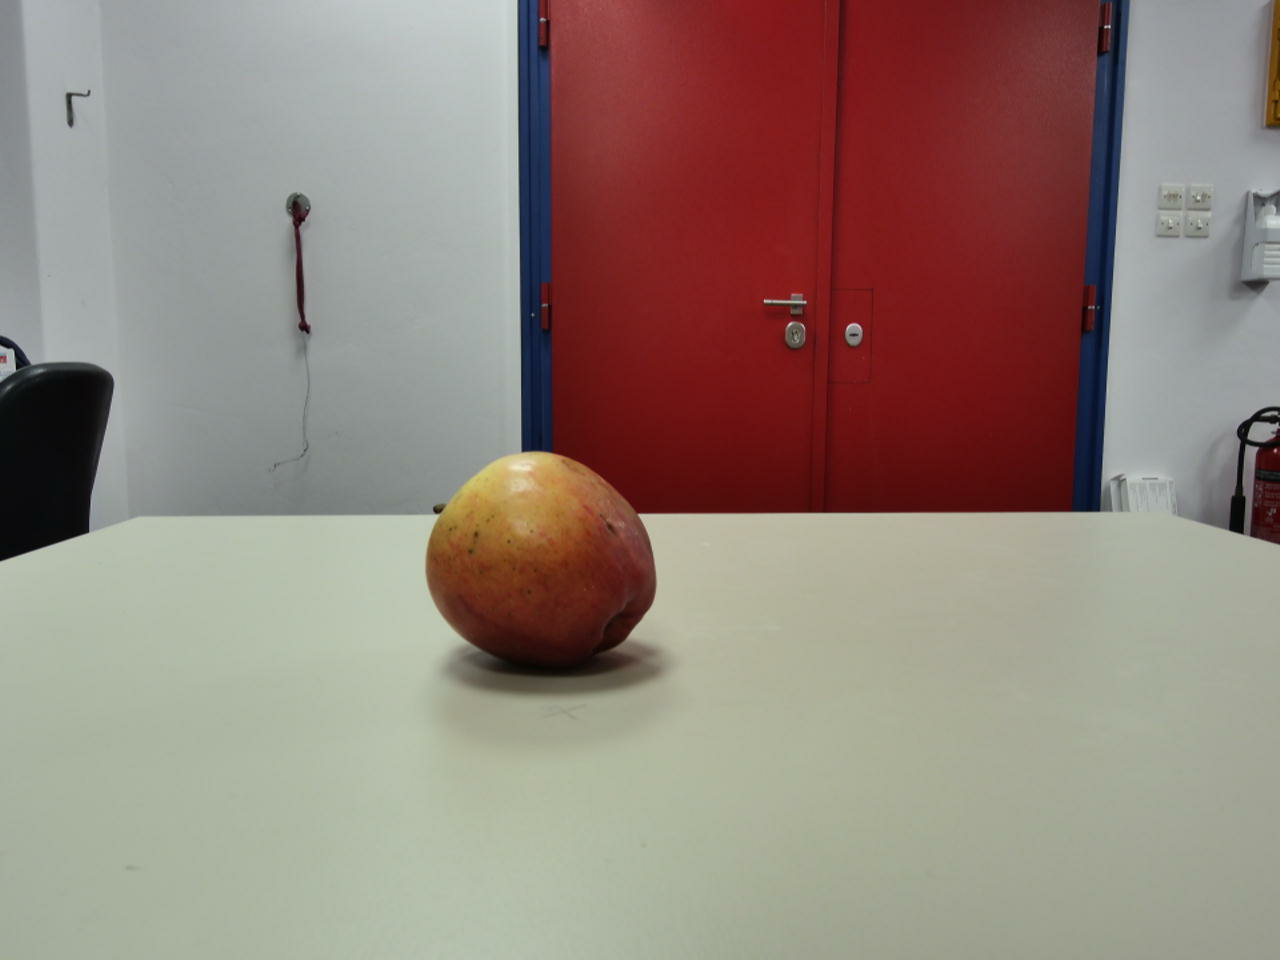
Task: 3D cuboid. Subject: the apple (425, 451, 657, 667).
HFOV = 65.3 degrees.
[{"bbox_3d":[-0.041,0.032,0.407,0.086,0.084,0.093,-4,5,-36],"label":"apple"}]
